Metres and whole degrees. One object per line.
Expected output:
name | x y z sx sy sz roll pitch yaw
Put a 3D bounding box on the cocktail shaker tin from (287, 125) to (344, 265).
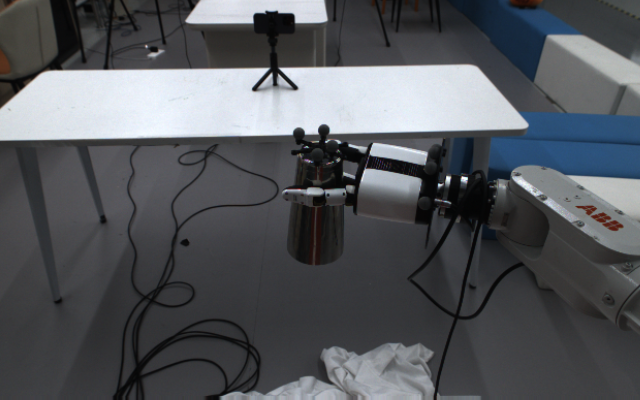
cocktail shaker tin | -0.002 0.001 0.742 0.093 0.170 0.093 3 33 -2
